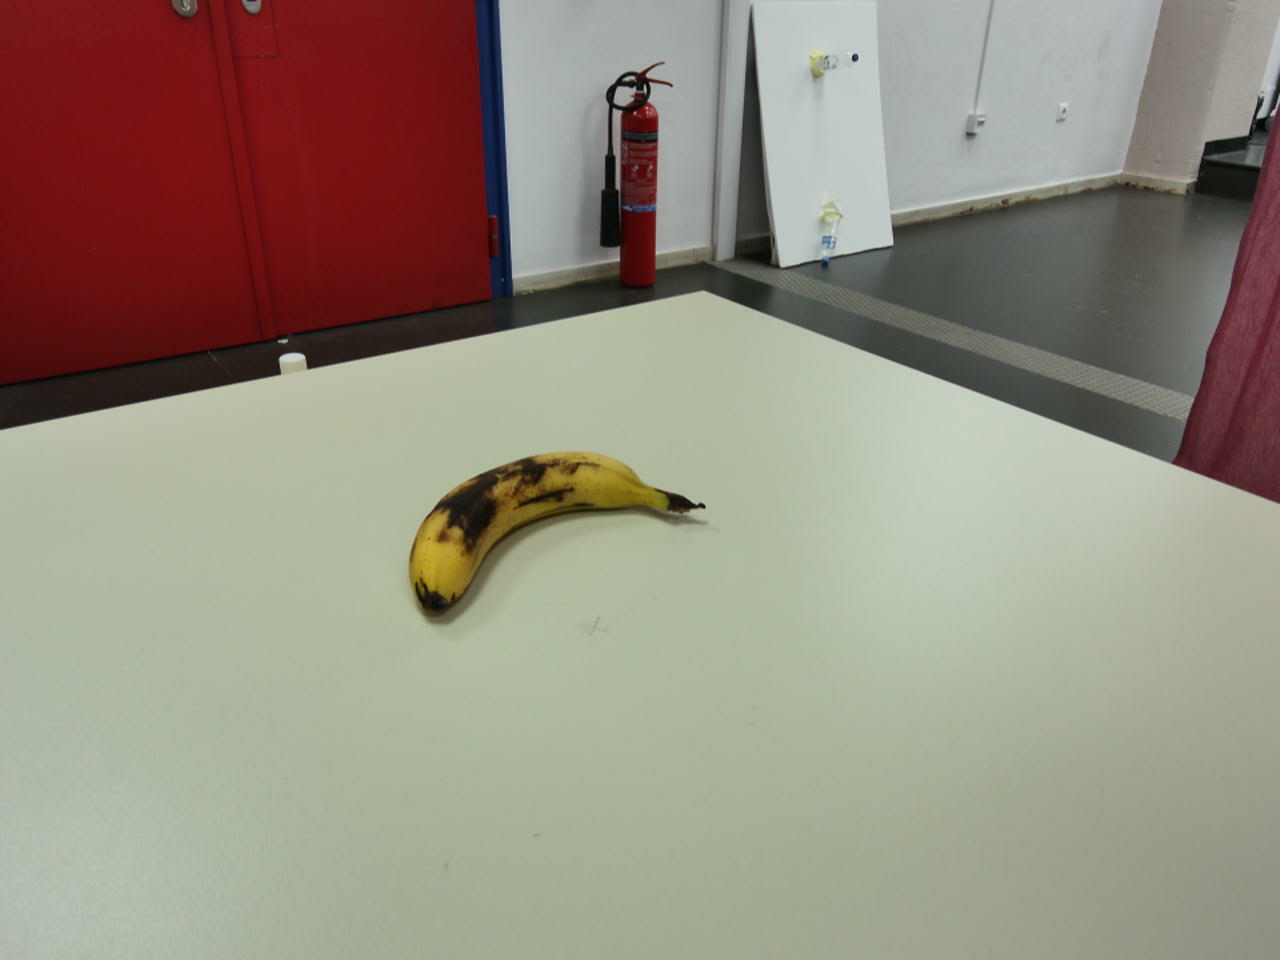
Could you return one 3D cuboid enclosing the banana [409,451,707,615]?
[{"bbox_3d":[-0.063,0.019,0.587,0.187,0.039,0.094,-19,32,-35],"label":"banana"}]
